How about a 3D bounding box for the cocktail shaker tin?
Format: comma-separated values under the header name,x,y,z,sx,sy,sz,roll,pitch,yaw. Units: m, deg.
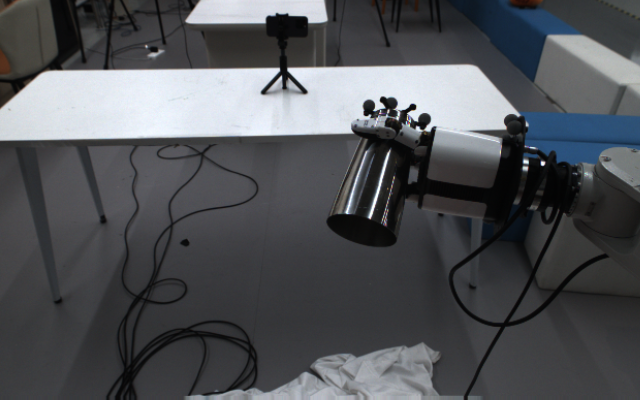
name,x,y,z,sx,sy,sz,roll,pitch,yaw
cocktail shaker tin,0.079,-0.037,0.639,0.093,0.093,0.170,12,65,14
